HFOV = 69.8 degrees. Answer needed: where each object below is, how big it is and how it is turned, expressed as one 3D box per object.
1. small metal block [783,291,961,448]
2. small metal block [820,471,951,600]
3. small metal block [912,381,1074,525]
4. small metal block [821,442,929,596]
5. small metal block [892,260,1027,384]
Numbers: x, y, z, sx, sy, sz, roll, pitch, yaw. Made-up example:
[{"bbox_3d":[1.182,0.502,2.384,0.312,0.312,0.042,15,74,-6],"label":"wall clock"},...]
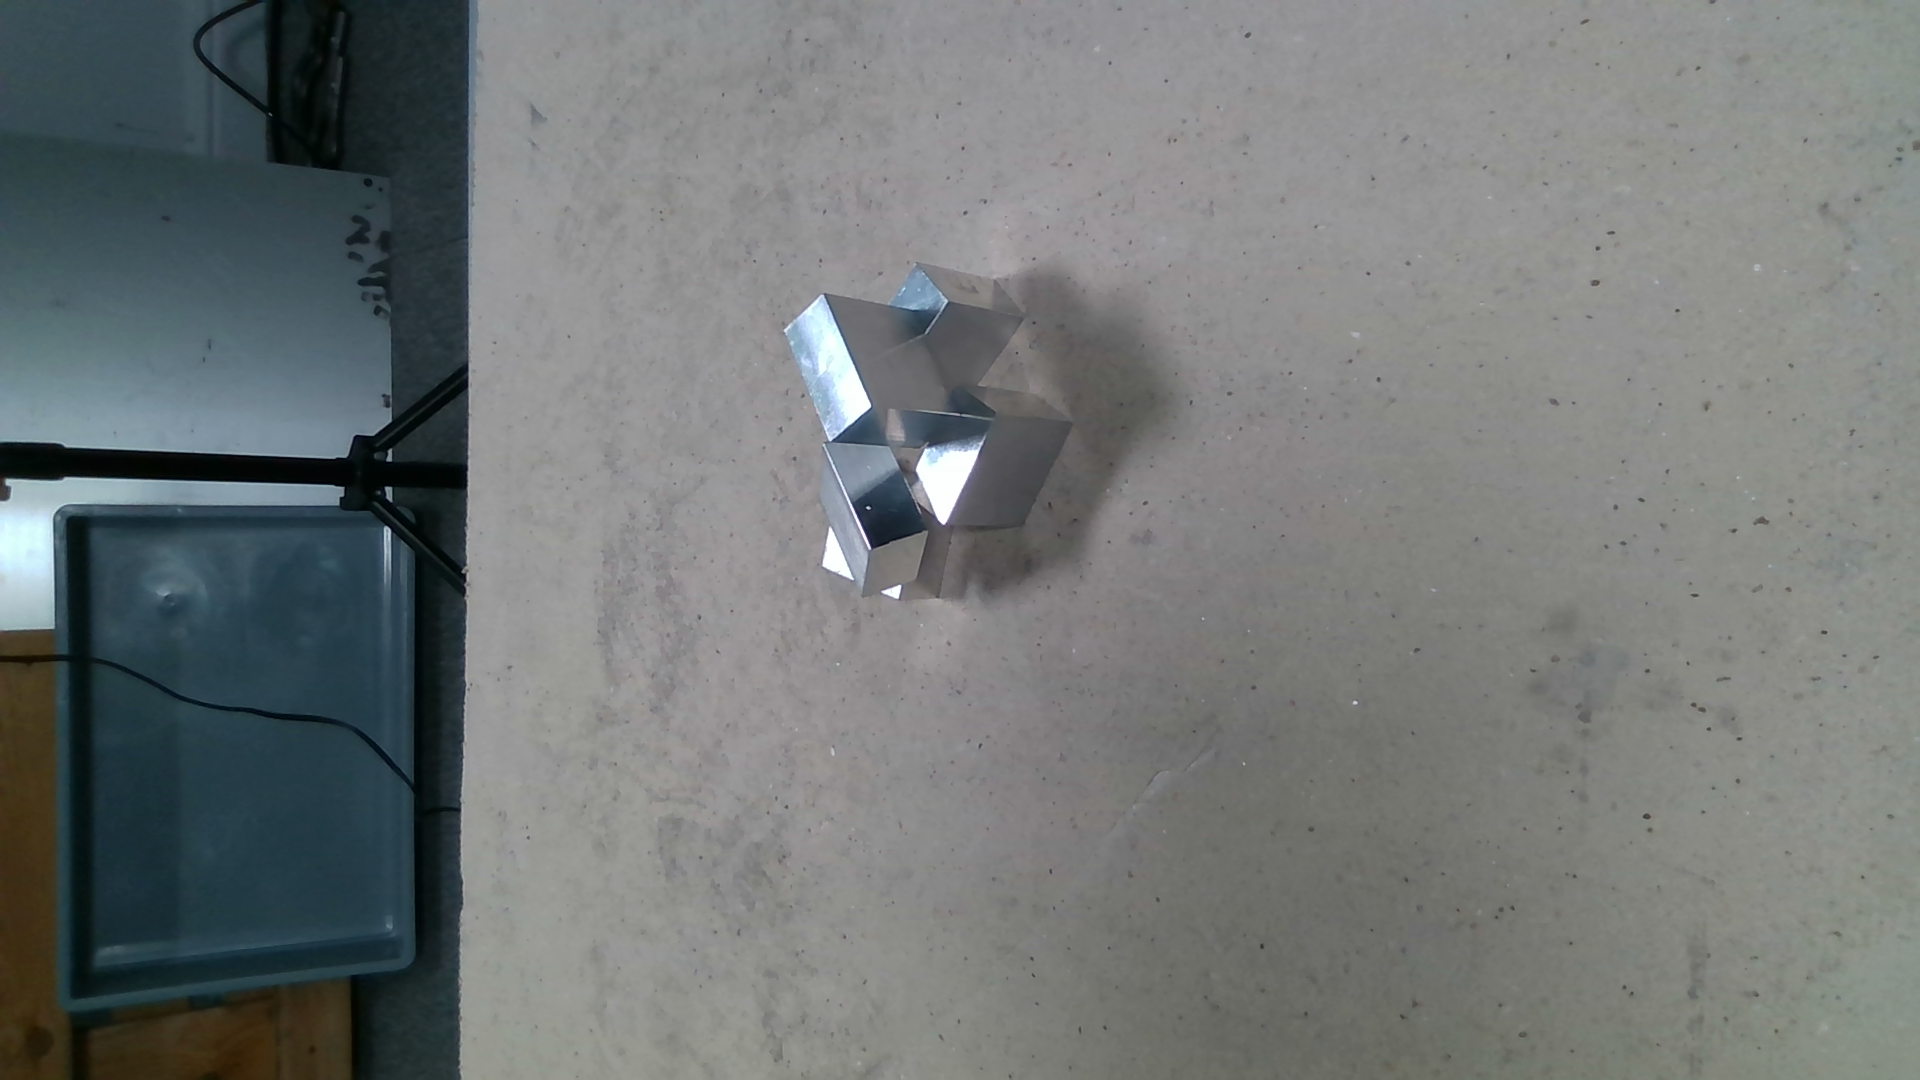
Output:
[{"bbox_3d":[-0.034,-0.064,0.528,0.025,0.050,0.050,-36,68,34],"label":"small metal block"},{"bbox_3d":[-0.031,-0.005,0.609,0.050,0.025,0.050,21,104,38],"label":"small metal block"},{"bbox_3d":[0.012,-0.034,0.556,0.025,0.050,0.050,40,115,33],"label":"small metal block"},{"bbox_3d":[-0.037,-0.011,0.564,0.050,0.025,0.050,107,140,-65],"label":"small metal block"},{"bbox_3d":[-0.009,-0.085,0.573,0.050,0.050,0.025,-52,59,28],"label":"small metal block"}]
